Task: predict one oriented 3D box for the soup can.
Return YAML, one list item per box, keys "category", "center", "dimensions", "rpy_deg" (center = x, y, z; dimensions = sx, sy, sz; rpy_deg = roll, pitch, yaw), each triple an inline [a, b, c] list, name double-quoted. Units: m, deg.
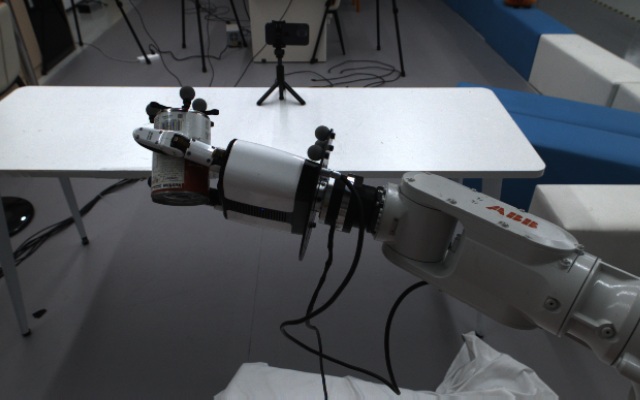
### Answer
- category: "soup can"
  center: [-0.162, -0.048, 0.574]
  dimensions: [0.067, 0.067, 0.101]
  rpy_deg: [-1, 77, -5]
